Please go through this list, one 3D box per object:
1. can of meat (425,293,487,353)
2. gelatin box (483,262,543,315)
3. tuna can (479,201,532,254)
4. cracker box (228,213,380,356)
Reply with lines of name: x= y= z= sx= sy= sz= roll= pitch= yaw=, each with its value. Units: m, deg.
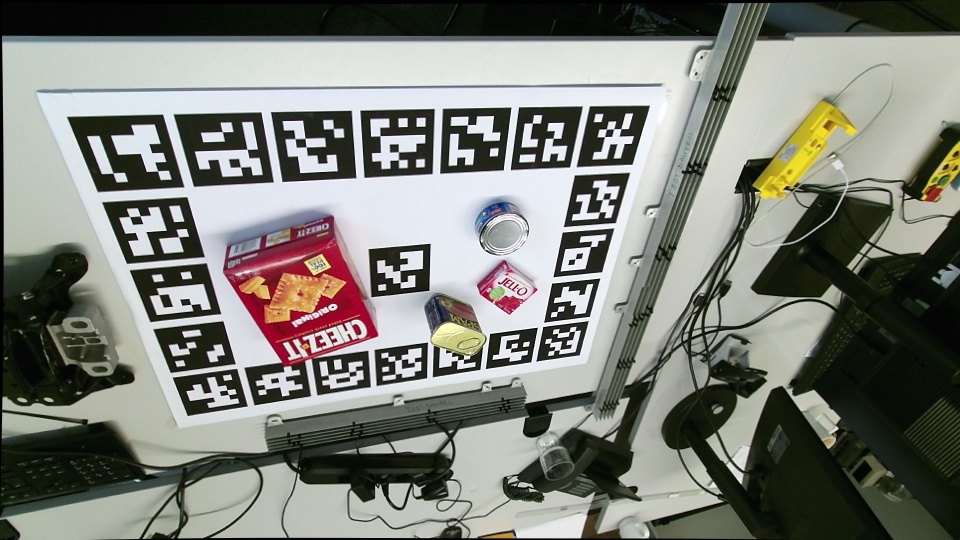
can of meat: x=-0.046 y=0.095 z=0.983 sx=0.102 sy=0.083 sz=0.058 roll=22 pitch=117 yaw=-32
gelatin box: x=0.061 y=0.037 z=0.999 sx=0.073 sy=0.030 sz=0.090 roll=-41 pitch=126 yaw=18
tuna can: x=0.042 y=-0.072 z=0.902 sx=0.086 sy=0.033 sz=0.086 roll=-9 pitch=126 yaw=-13
cracker box: x=-0.273 y=0.031 z=0.861 sx=0.165 sy=0.071 sz=0.214 roll=-18 pitch=132 yaw=-3
